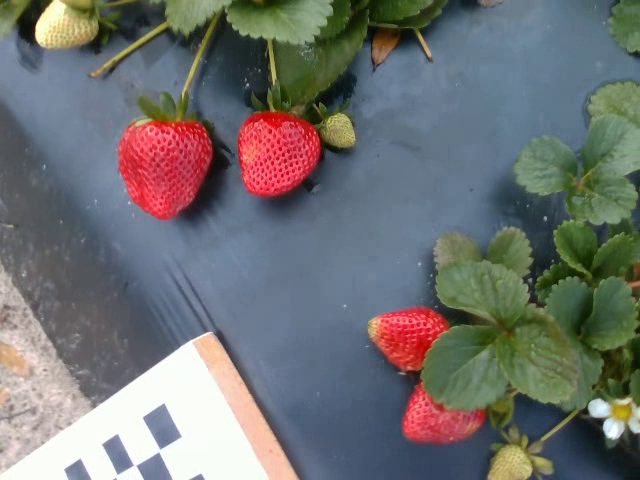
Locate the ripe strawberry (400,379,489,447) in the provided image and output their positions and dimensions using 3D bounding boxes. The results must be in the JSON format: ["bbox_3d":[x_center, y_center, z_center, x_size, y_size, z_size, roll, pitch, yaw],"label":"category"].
[{"bbox_3d":[0.059,0.091,0.324,0.049,0.044,0.041,-31,-12,-30],"label":"ripe strawberry"}]

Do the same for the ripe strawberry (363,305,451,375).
[{"bbox_3d":[0.044,0.051,0.337,0.053,0.047,0.039,21,32,-10],"label":"ripe strawberry"}]

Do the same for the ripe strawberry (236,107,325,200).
[{"bbox_3d":[-0.029,-0.047,0.357,0.050,0.060,0.051,-9,-42,37],"label":"ripe strawberry"}]

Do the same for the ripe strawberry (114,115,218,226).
[{"bbox_3d":[-0.094,-0.040,0.366,0.058,0.065,0.043,-2,-6,36],"label":"ripe strawberry"}]
